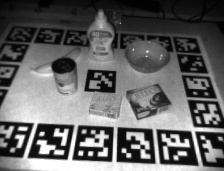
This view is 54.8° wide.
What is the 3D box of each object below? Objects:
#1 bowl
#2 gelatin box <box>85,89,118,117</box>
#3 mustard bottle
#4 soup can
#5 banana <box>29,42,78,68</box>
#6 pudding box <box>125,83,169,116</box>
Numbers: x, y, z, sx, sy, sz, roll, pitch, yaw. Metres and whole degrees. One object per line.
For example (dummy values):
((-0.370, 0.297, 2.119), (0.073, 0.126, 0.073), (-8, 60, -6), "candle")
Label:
((0.125, -0.109, 0.797), (0.162, 0.055, 0.161), (2, 49, -1), "bowl")
((-0.031, 0.052, 0.661), (0.089, 0.030, 0.073), (9, 53, 4), "gelatin box")
((-0.041, -0.187, 0.742), (0.096, 0.192, 0.058), (3, 47, 0), "mustard bottle")
((-0.157, -0.047, 0.676), (0.068, 0.102, 0.067), (3, 48, -3), "soup can")
((-0.193, -0.108, 0.779), (0.199, 0.039, 0.073), (-36, 50, -29), "banana")
((0.107, 0.036, 0.678), (0.114, 0.039, 0.089), (-15, 58, -16), "pudding box")
